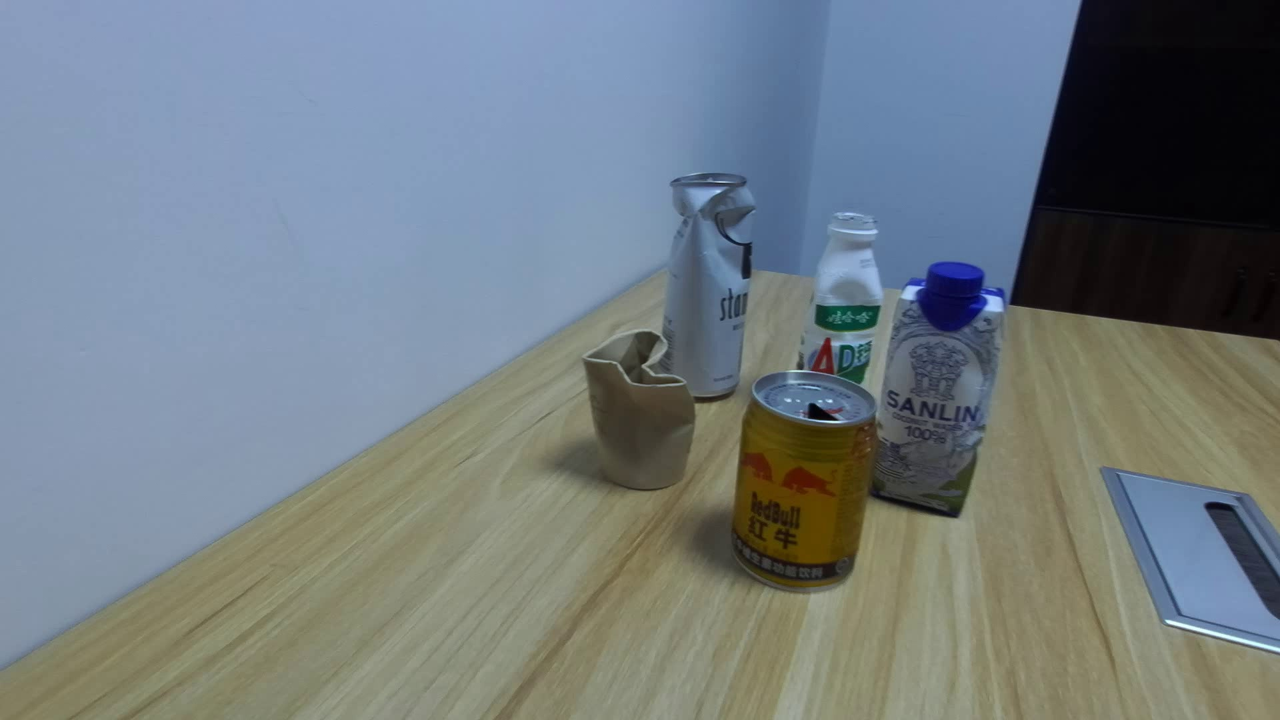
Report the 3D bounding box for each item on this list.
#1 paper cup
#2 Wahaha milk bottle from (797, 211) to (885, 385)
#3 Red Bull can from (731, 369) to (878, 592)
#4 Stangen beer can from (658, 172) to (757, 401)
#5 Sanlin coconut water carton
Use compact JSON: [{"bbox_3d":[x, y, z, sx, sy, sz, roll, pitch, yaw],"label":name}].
[{"bbox_3d":[0.006,0.033,0.427,0.058,0.083,0.067,16,28,26],"label":"paper cup"},{"bbox_3d":[0.144,-0.031,0.510,0.055,0.149,0.055,2,20,-1],"label":"Wahaha milk bottle"},{"bbox_3d":[0.081,0.058,0.353,0.067,0.093,0.067,3,24,-1],"label":"Red Bull can"},{"bbox_3d":[0.048,-0.054,0.534,0.066,0.166,0.065,-14,27,-33],"label":"Stangen beer can"},{"bbox_3d":[0.173,0.014,0.412,0.060,0.144,0.061,10,22,21],"label":"Sanlin coconut water carton"}]
